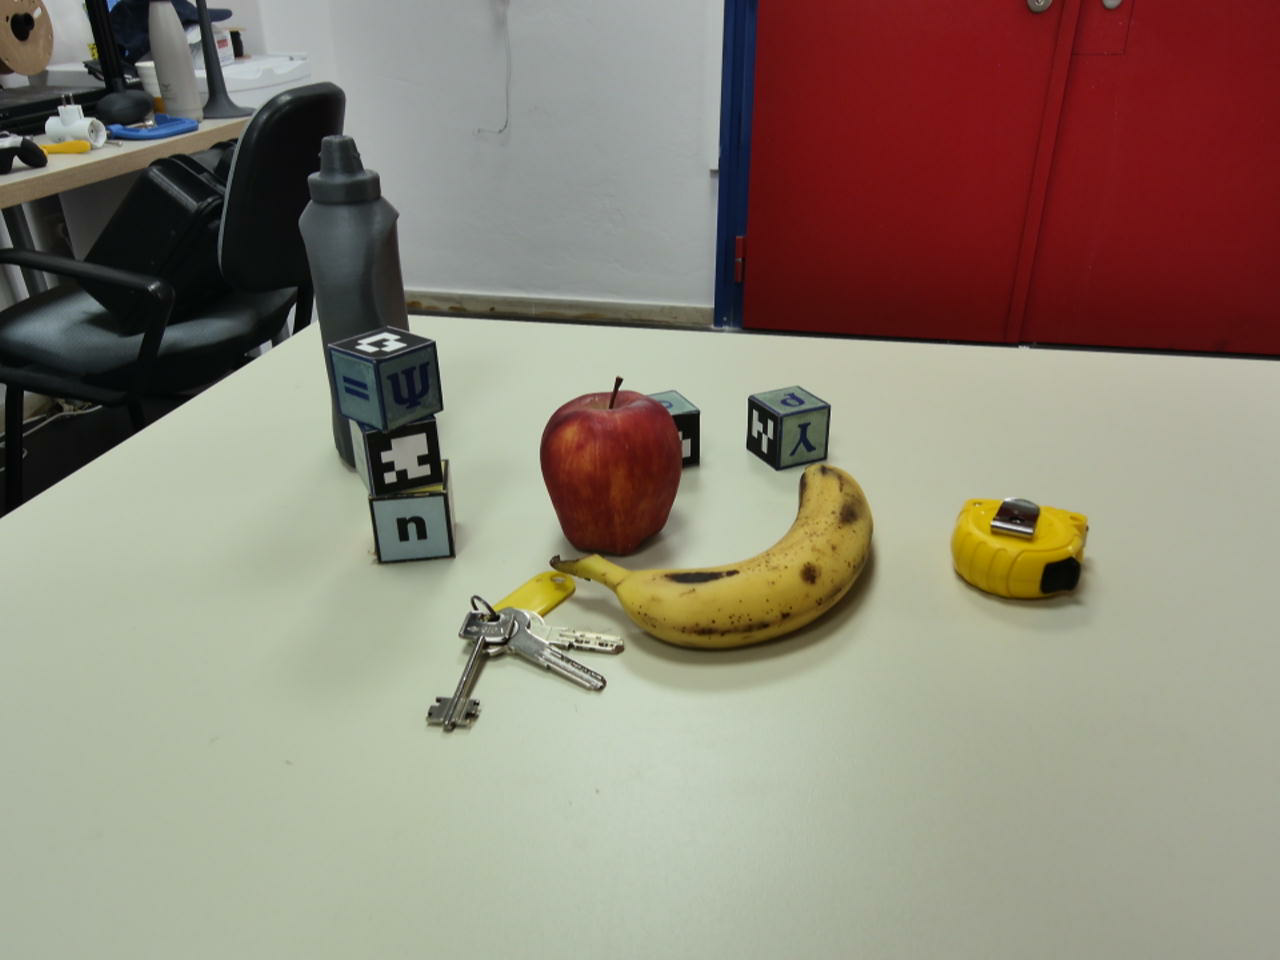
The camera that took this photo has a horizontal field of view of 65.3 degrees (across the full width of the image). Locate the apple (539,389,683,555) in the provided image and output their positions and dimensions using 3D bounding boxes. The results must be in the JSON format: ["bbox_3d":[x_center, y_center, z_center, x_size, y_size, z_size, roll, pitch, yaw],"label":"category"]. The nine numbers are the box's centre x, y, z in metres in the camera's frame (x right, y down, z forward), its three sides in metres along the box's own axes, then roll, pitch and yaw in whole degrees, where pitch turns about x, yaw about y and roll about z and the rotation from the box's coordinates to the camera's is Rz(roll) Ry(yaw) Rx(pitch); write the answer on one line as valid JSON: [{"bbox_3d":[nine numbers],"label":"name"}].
[{"bbox_3d":[-0.016,-0.011,0.534,0.083,0.090,0.083,-1,25,1],"label":"apple"}]
